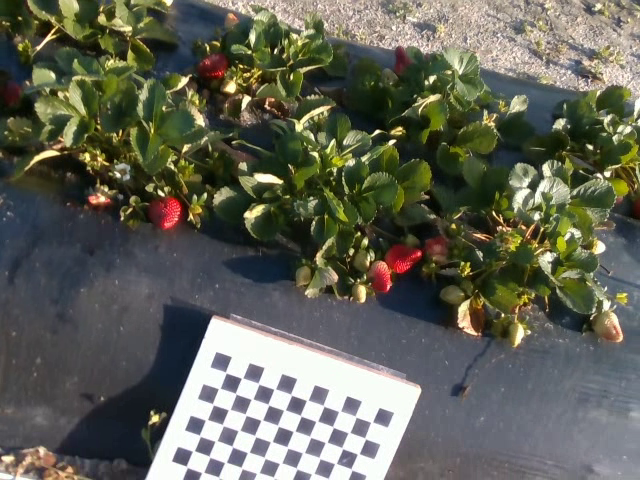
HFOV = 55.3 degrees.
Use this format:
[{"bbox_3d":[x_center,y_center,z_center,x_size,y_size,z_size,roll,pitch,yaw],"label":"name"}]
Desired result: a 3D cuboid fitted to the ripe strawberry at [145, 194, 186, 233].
[{"bbox_3d":[-0.210,-0.032,0.806,0.052,0.041,0.052,-11,37,-2],"label":"ripe strawberry"}]
